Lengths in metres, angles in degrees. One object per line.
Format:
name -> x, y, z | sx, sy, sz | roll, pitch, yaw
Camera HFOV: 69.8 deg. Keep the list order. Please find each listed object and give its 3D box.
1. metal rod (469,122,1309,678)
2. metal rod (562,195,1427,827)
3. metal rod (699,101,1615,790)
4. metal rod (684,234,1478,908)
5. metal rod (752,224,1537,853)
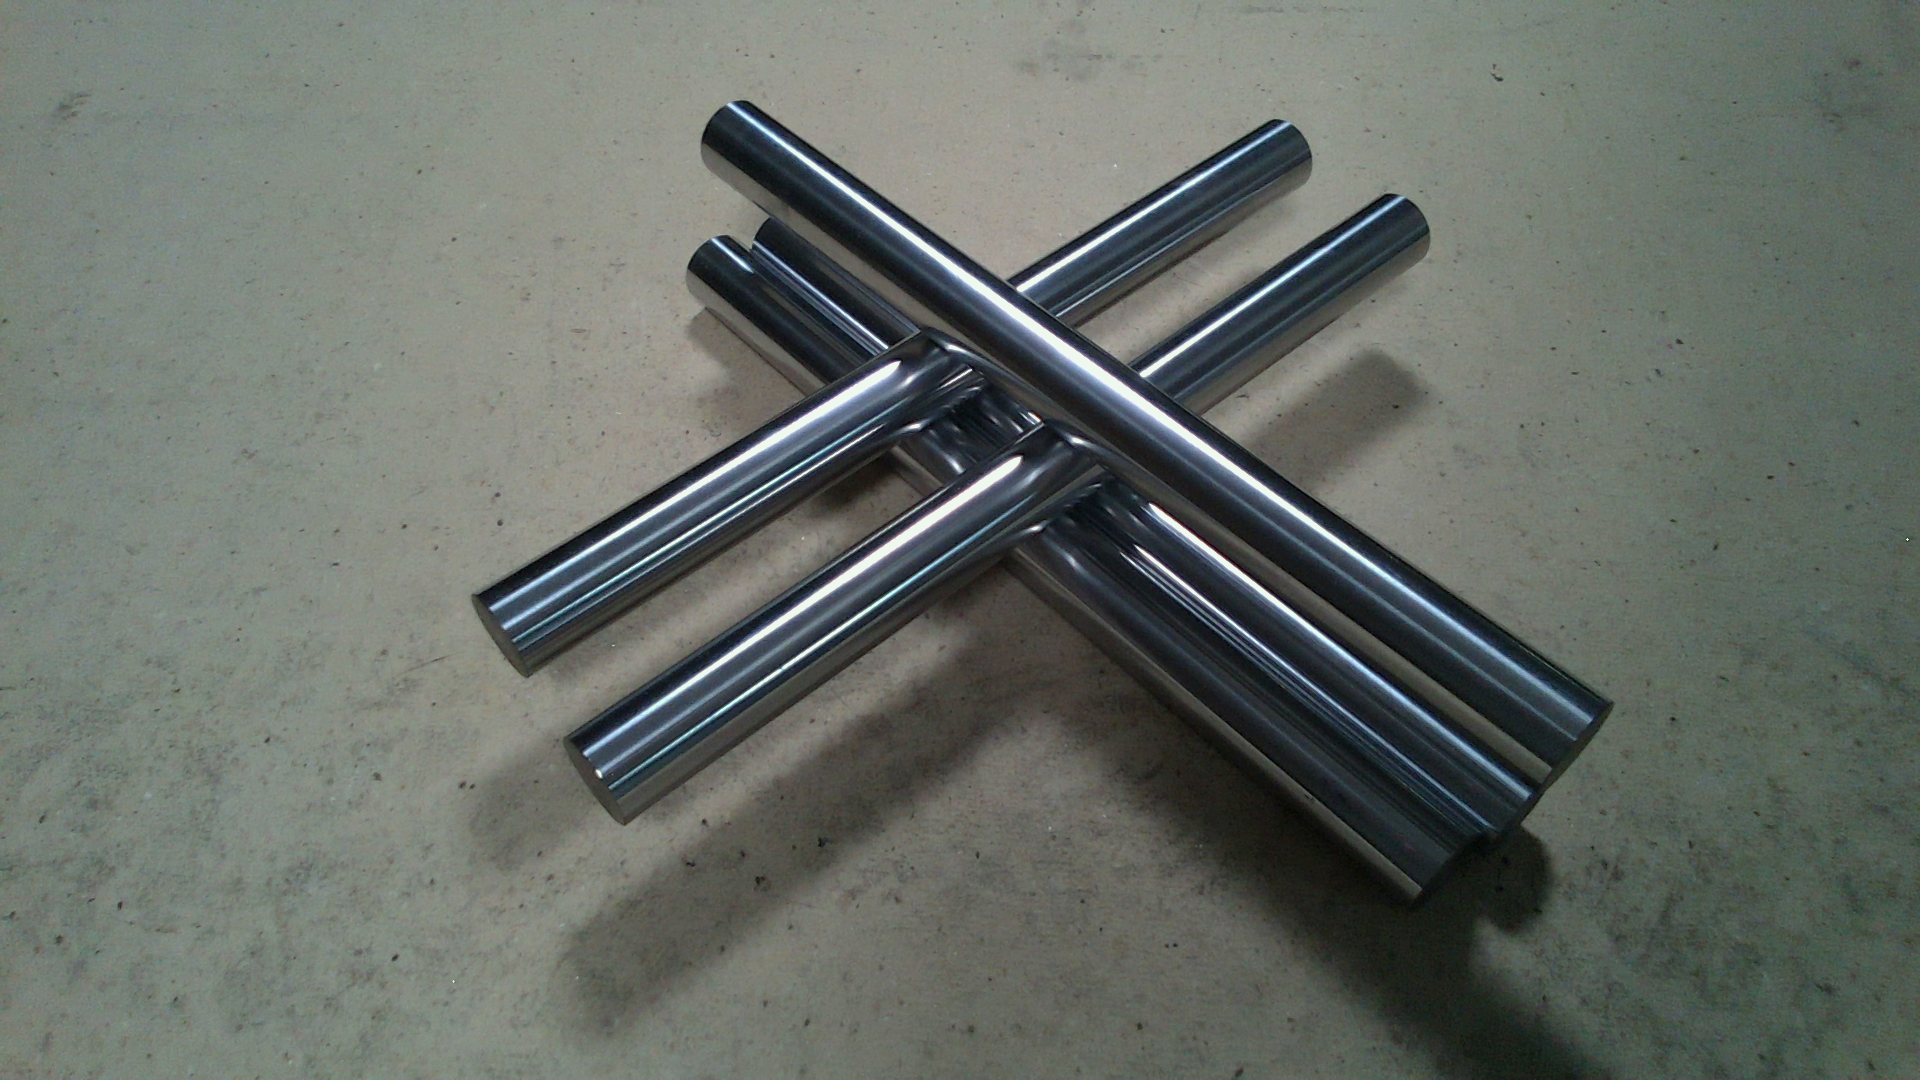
metal rod -> -0.002, -0.053, 0.404 | 0.301, 0.025, 0.025 | -35, 58, -26
metal rod -> 0.028, -0.022, 0.378 | 0.301, 0.025, 0.025 | -35, 58, -26
metal rod -> 0.029, -0.041, 0.361 | 0.025, 0.025, 0.299 | -35, 58, -26
metal rod -> 0.016, -0.008, 0.398 | 0.025, 0.025, 0.299 | -34, 58, -25
metal rod -> 0.037, -0.018, 0.407 | 0.025, 0.025, 0.299 | -34, 58, -25
